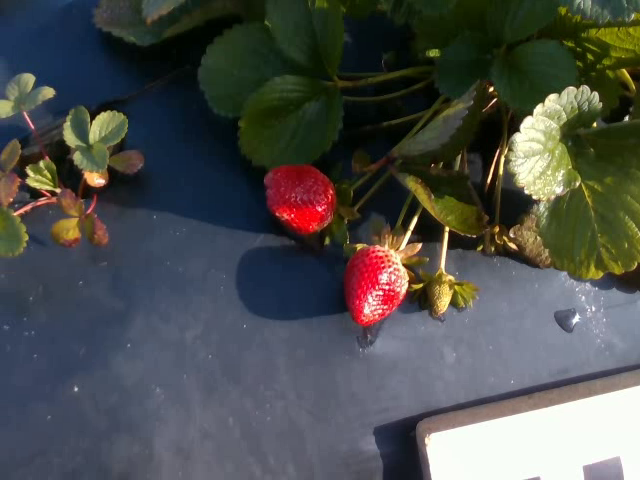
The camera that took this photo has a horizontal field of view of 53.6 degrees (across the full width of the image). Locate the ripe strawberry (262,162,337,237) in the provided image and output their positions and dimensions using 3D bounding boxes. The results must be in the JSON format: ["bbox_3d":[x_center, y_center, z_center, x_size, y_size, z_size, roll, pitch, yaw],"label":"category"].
[{"bbox_3d":[-0.011,-0.025,0.371,0.054,0.048,0.039,5,4,-33],"label":"ripe strawberry"}]

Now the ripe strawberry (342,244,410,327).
[{"bbox_3d":[0.030,0.027,0.347,0.043,0.053,0.038,34,-41,-10],"label":"ripe strawberry"}]
